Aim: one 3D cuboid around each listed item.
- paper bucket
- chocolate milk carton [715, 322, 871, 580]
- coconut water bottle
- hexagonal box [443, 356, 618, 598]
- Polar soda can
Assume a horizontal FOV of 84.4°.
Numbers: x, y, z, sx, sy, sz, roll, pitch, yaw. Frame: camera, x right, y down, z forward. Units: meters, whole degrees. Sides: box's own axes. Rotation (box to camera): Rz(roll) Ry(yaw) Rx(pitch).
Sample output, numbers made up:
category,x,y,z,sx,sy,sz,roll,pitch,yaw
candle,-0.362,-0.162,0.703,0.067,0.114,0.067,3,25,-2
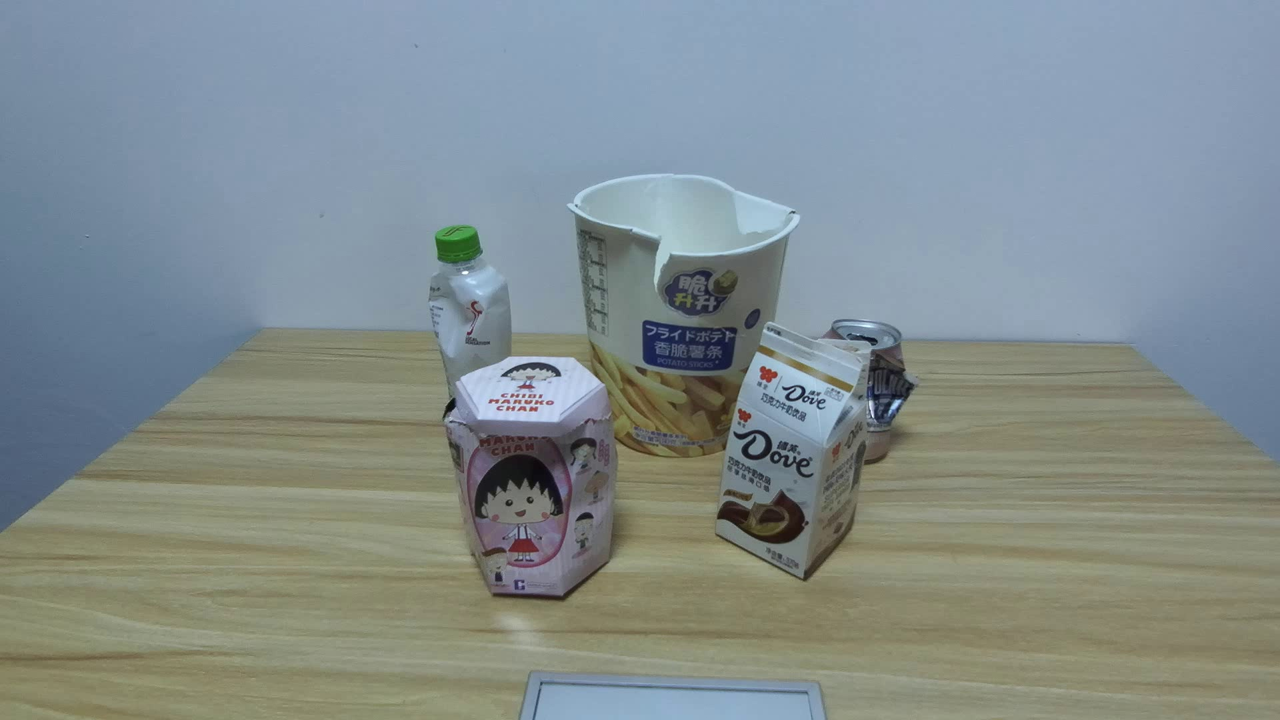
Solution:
category,x,y,z,sx,sy,sz,roll,pitch,yaw
paper bucket,0.033,-0.037,0.592,0.146,0.197,0.201,-20,33,-30
chocolate milk carton,0.100,0.052,0.463,0.084,0.155,0.073,21,35,36
coconut water bottle,-0.128,-0.010,0.554,0.069,0.187,0.069,0,24,0
hexagonal box,-0.069,0.073,0.454,0.090,0.134,0.090,23,33,39
Polar soda can,0.178,0.025,0.573,0.074,0.114,0.070,-20,36,-25
